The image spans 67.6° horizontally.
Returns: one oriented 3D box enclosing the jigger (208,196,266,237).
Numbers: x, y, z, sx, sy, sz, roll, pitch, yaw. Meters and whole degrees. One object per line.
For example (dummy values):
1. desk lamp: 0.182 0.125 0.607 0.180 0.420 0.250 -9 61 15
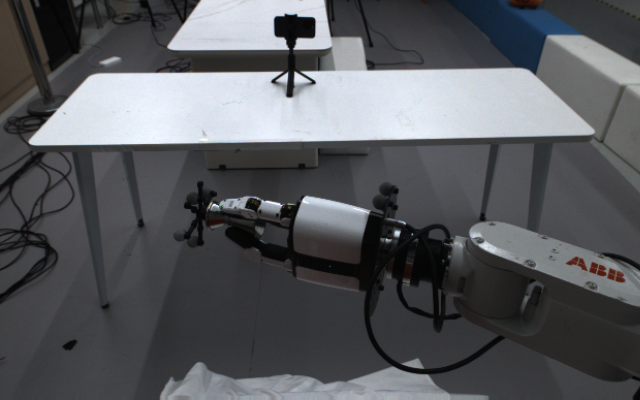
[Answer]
1. jigger: -0.102 0.021 0.629 0.071 0.043 0.043 6 35 12
